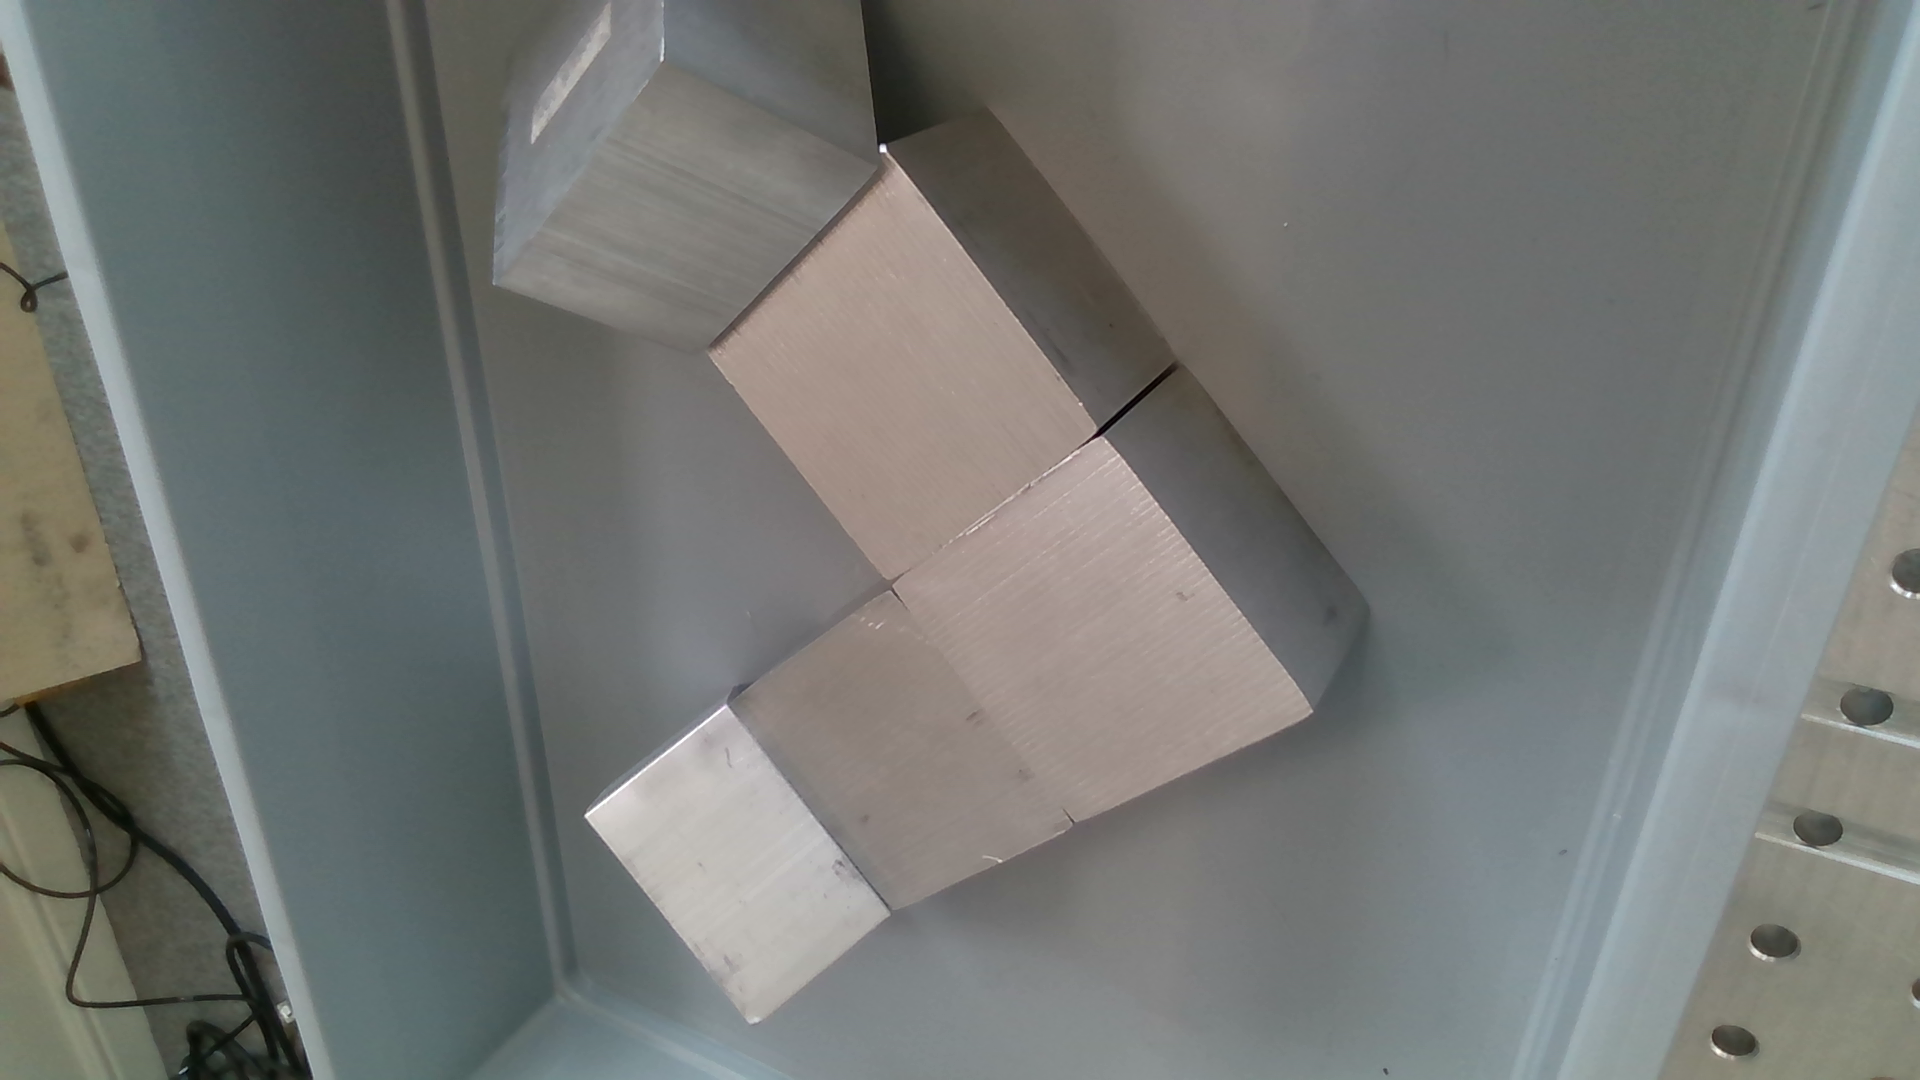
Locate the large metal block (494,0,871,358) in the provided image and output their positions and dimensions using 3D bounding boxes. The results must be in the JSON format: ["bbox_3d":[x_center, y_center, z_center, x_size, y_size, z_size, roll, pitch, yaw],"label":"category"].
[{"bbox_3d":[-0.069,-0.104,0.328,0.080,0.050,0.080,-35,51,39],"label":"large metal block"}]

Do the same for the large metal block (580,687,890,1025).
[{"bbox_3d":[-0.070,0.095,0.439,0.080,0.050,0.080,52,173,-3],"label":"large metal block"}]

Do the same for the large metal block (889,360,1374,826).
[{"bbox_3d":[0.043,0.015,0.353,0.080,0.050,0.080,-35,94,39],"label":"large metal block"}]

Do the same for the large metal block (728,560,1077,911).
[{"bbox_3d":[-0.008,0.051,0.404,0.080,0.050,0.080,-35,94,39],"label":"large metal block"}]

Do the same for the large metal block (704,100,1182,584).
[{"bbox_3d":[-0.006,-0.049,0.348,0.080,0.050,0.080,-35,94,39],"label":"large metal block"}]
